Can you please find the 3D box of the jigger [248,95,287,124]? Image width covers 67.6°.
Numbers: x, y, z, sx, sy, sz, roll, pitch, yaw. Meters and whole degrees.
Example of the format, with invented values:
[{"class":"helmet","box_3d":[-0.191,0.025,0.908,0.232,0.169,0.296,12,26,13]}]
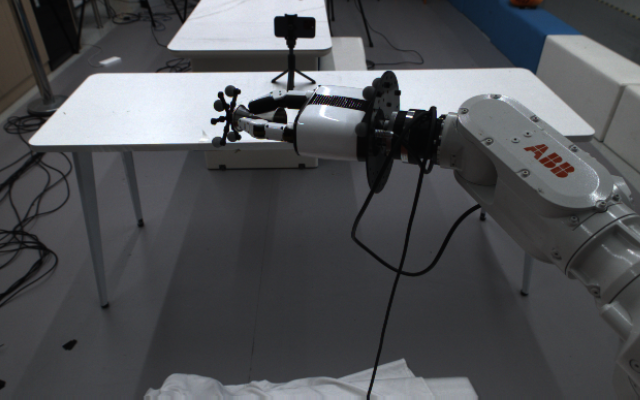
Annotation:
[{"class":"jigger","box_3d":[-0.082,-0.118,0.699,0.071,0.043,0.043,10,35,21]}]
